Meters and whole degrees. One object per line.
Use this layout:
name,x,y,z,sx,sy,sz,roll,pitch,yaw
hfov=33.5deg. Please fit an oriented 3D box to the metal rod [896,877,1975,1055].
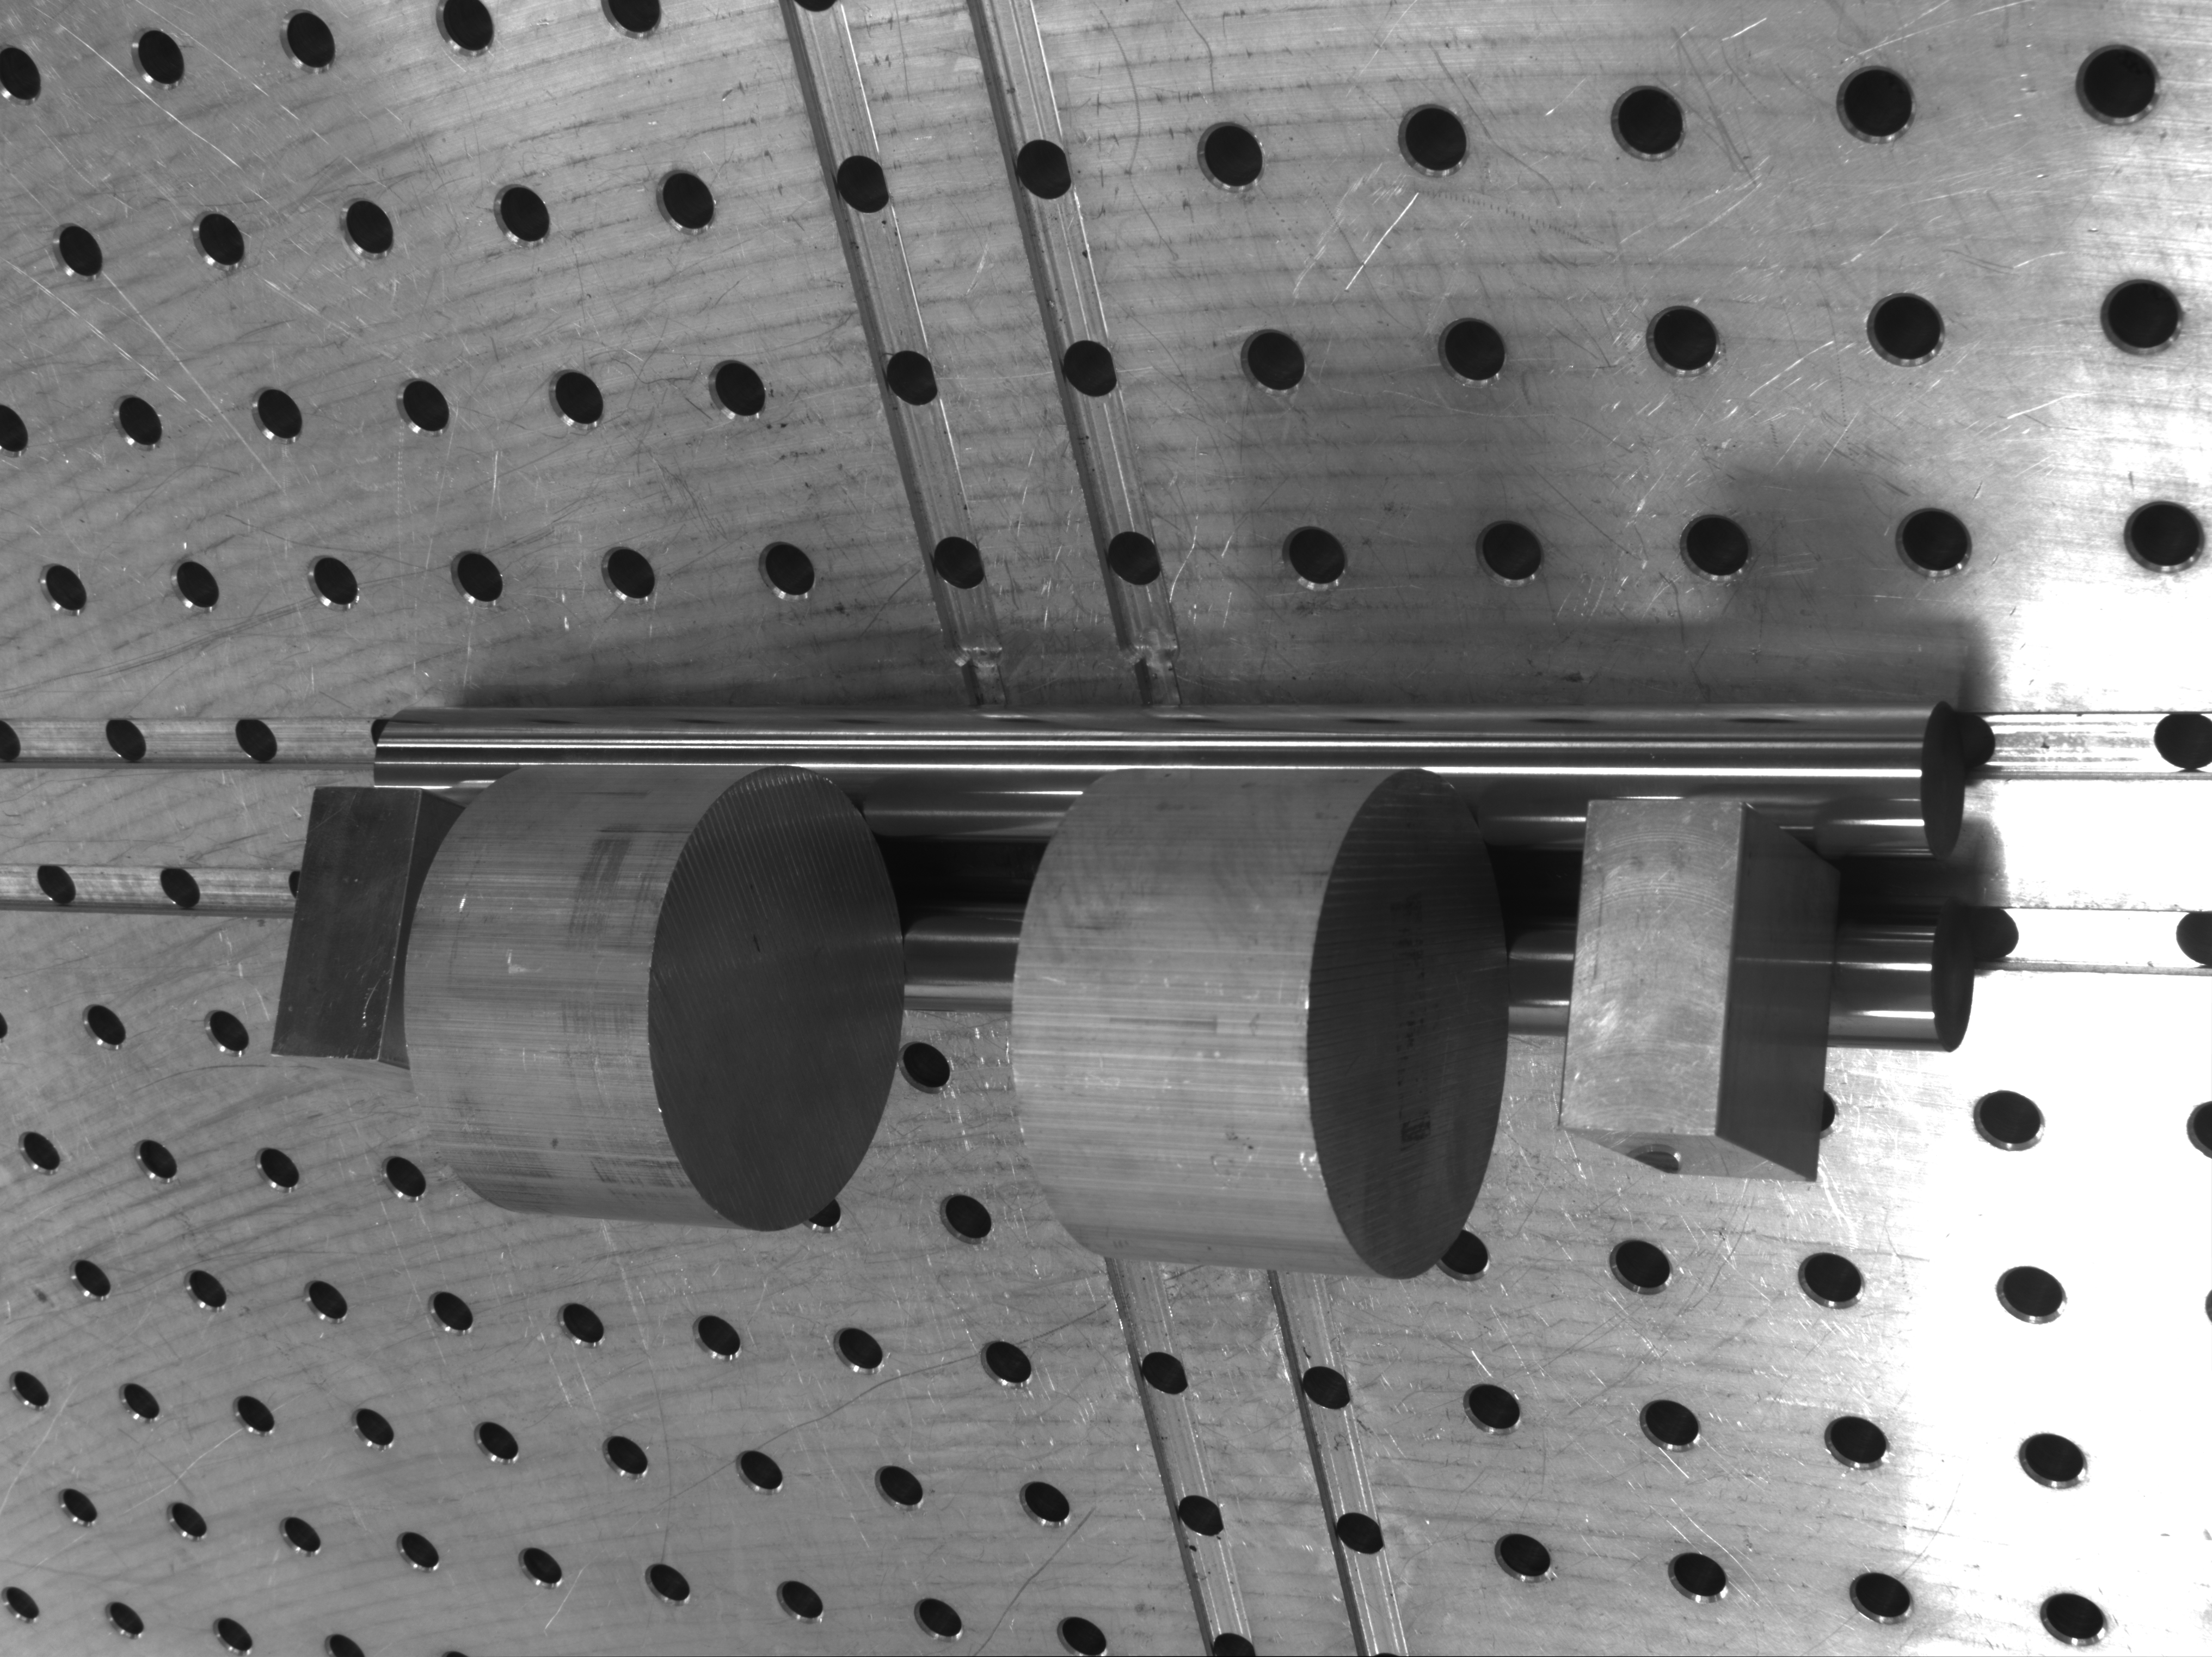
metal rod,0.004,0.022,0.658,0.299,0.025,0.025,1,119,28

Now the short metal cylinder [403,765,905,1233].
short metal cylinder,-0.077,0.029,0.642,0.050,0.080,0.080,1,119,28

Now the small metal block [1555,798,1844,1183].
small metal block,0.092,0.026,0.567,0.025,0.050,0.050,1,77,29

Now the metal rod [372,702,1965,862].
metal rod,-0.002,-0.009,0.642,0.299,0.025,0.025,1,119,28

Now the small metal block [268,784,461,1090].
small metal block,-0.125,0.022,0.682,0.025,0.050,0.050,1,77,28

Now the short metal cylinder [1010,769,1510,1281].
short metal cylinder,0.026,0.030,0.587,0.050,0.080,0.080,1,119,28
